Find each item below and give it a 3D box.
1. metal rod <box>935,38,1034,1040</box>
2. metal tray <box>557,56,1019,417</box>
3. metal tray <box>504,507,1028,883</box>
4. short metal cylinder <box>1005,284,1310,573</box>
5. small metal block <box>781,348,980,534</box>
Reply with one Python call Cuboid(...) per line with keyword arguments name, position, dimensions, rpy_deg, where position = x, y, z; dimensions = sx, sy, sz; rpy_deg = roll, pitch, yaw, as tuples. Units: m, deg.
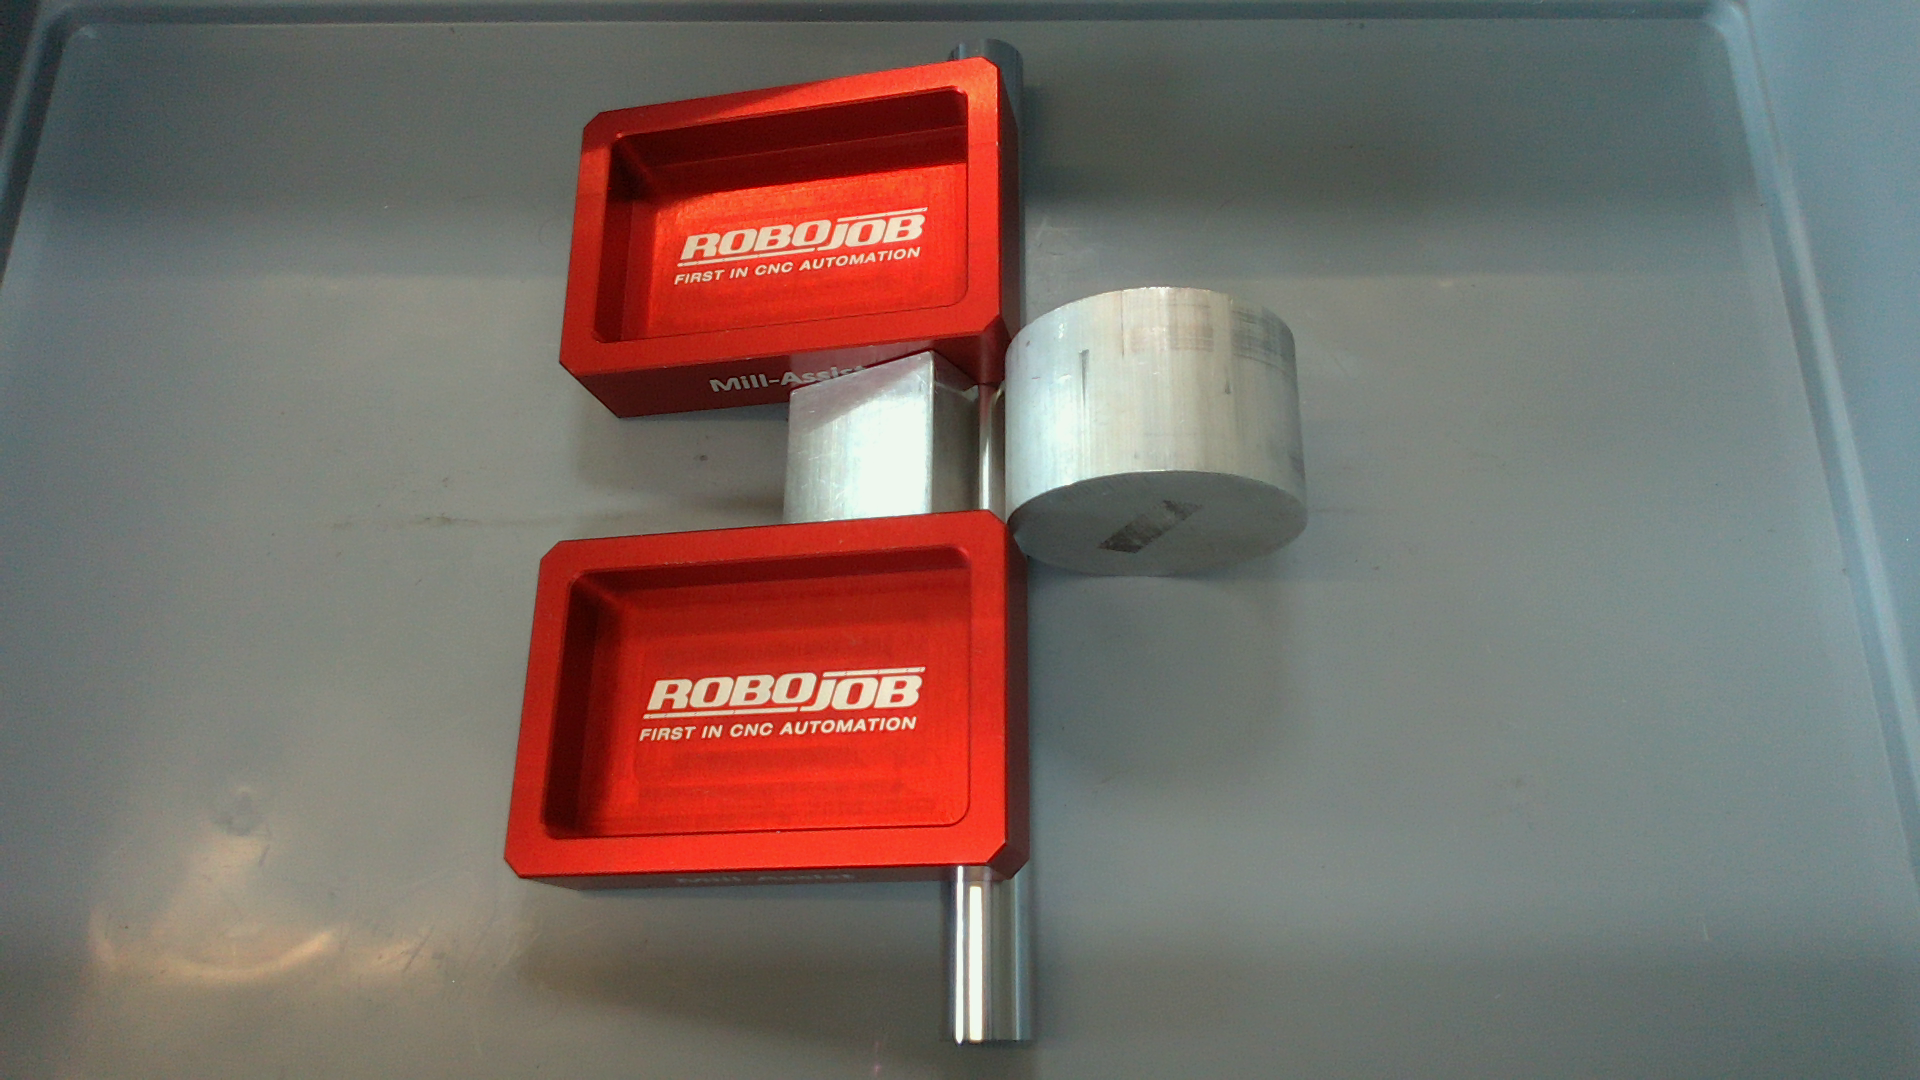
Cuboid(name="metal rod", position=(0.007, -0.015, 0.398), dimensions=(0.025, 0.025, 0.300), rpy_deg=(0, 70, 0))
Cuboid(name="metal tray", position=(-0.049, -0.089, 0.408), dimensions=(0.130, 0.030, 0.090), rpy_deg=(-4, 70, 12))
Cuboid(name="metal tray", position=(-0.048, 0.043, 0.360), dimensions=(0.130, 0.030, 0.090), rpy_deg=(-4, 70, 12))
Cuboid(name="short metal cylinder", position=(0.052, -0.027, 0.374), dimensions=(0.080, 0.080, 0.050), rpy_deg=(0, 70, 0))
Cuboid(name="small metal block", position=(-0.022, -0.021, 0.390), dimensions=(0.050, 0.025, 0.050), rpy_deg=(-11, 67, 30))
